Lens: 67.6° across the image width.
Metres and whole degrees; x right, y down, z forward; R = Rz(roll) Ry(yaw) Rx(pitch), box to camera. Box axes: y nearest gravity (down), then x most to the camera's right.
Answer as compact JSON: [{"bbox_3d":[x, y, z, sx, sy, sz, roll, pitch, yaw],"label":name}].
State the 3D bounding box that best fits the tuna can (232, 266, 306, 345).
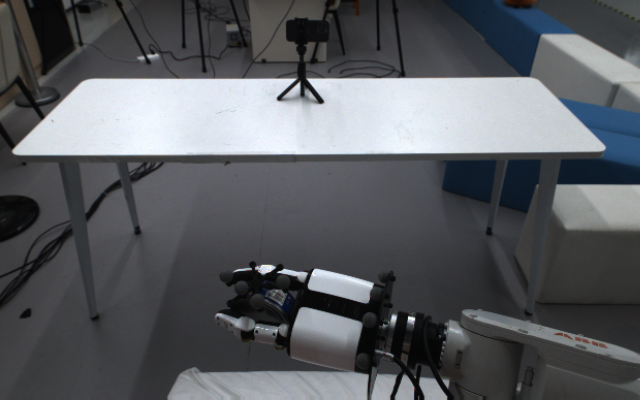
[{"bbox_3d":[-0.070,0.147,0.639,0.085,0.085,0.034,11,38,13],"label":"tuna can"}]
